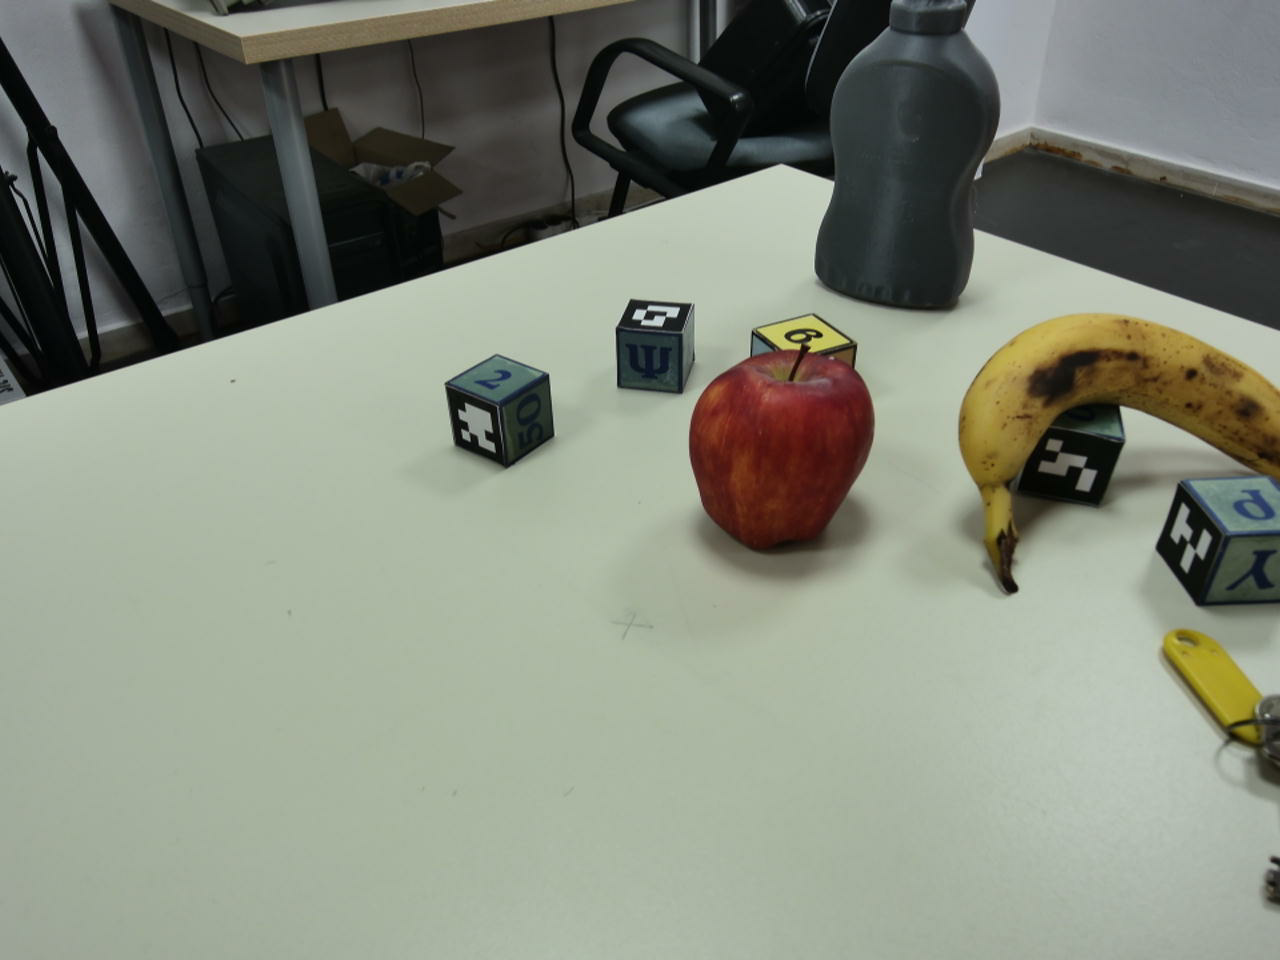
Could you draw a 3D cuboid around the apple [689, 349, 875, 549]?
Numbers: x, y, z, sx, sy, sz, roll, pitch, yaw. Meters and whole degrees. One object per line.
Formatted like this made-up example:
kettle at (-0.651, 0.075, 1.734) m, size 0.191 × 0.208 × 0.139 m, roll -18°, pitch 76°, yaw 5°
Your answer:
apple at (0.062, -0.020, 0.436) m, size 0.083 × 0.090 × 0.083 m, roll 0°, pitch 35°, yaw 0°
